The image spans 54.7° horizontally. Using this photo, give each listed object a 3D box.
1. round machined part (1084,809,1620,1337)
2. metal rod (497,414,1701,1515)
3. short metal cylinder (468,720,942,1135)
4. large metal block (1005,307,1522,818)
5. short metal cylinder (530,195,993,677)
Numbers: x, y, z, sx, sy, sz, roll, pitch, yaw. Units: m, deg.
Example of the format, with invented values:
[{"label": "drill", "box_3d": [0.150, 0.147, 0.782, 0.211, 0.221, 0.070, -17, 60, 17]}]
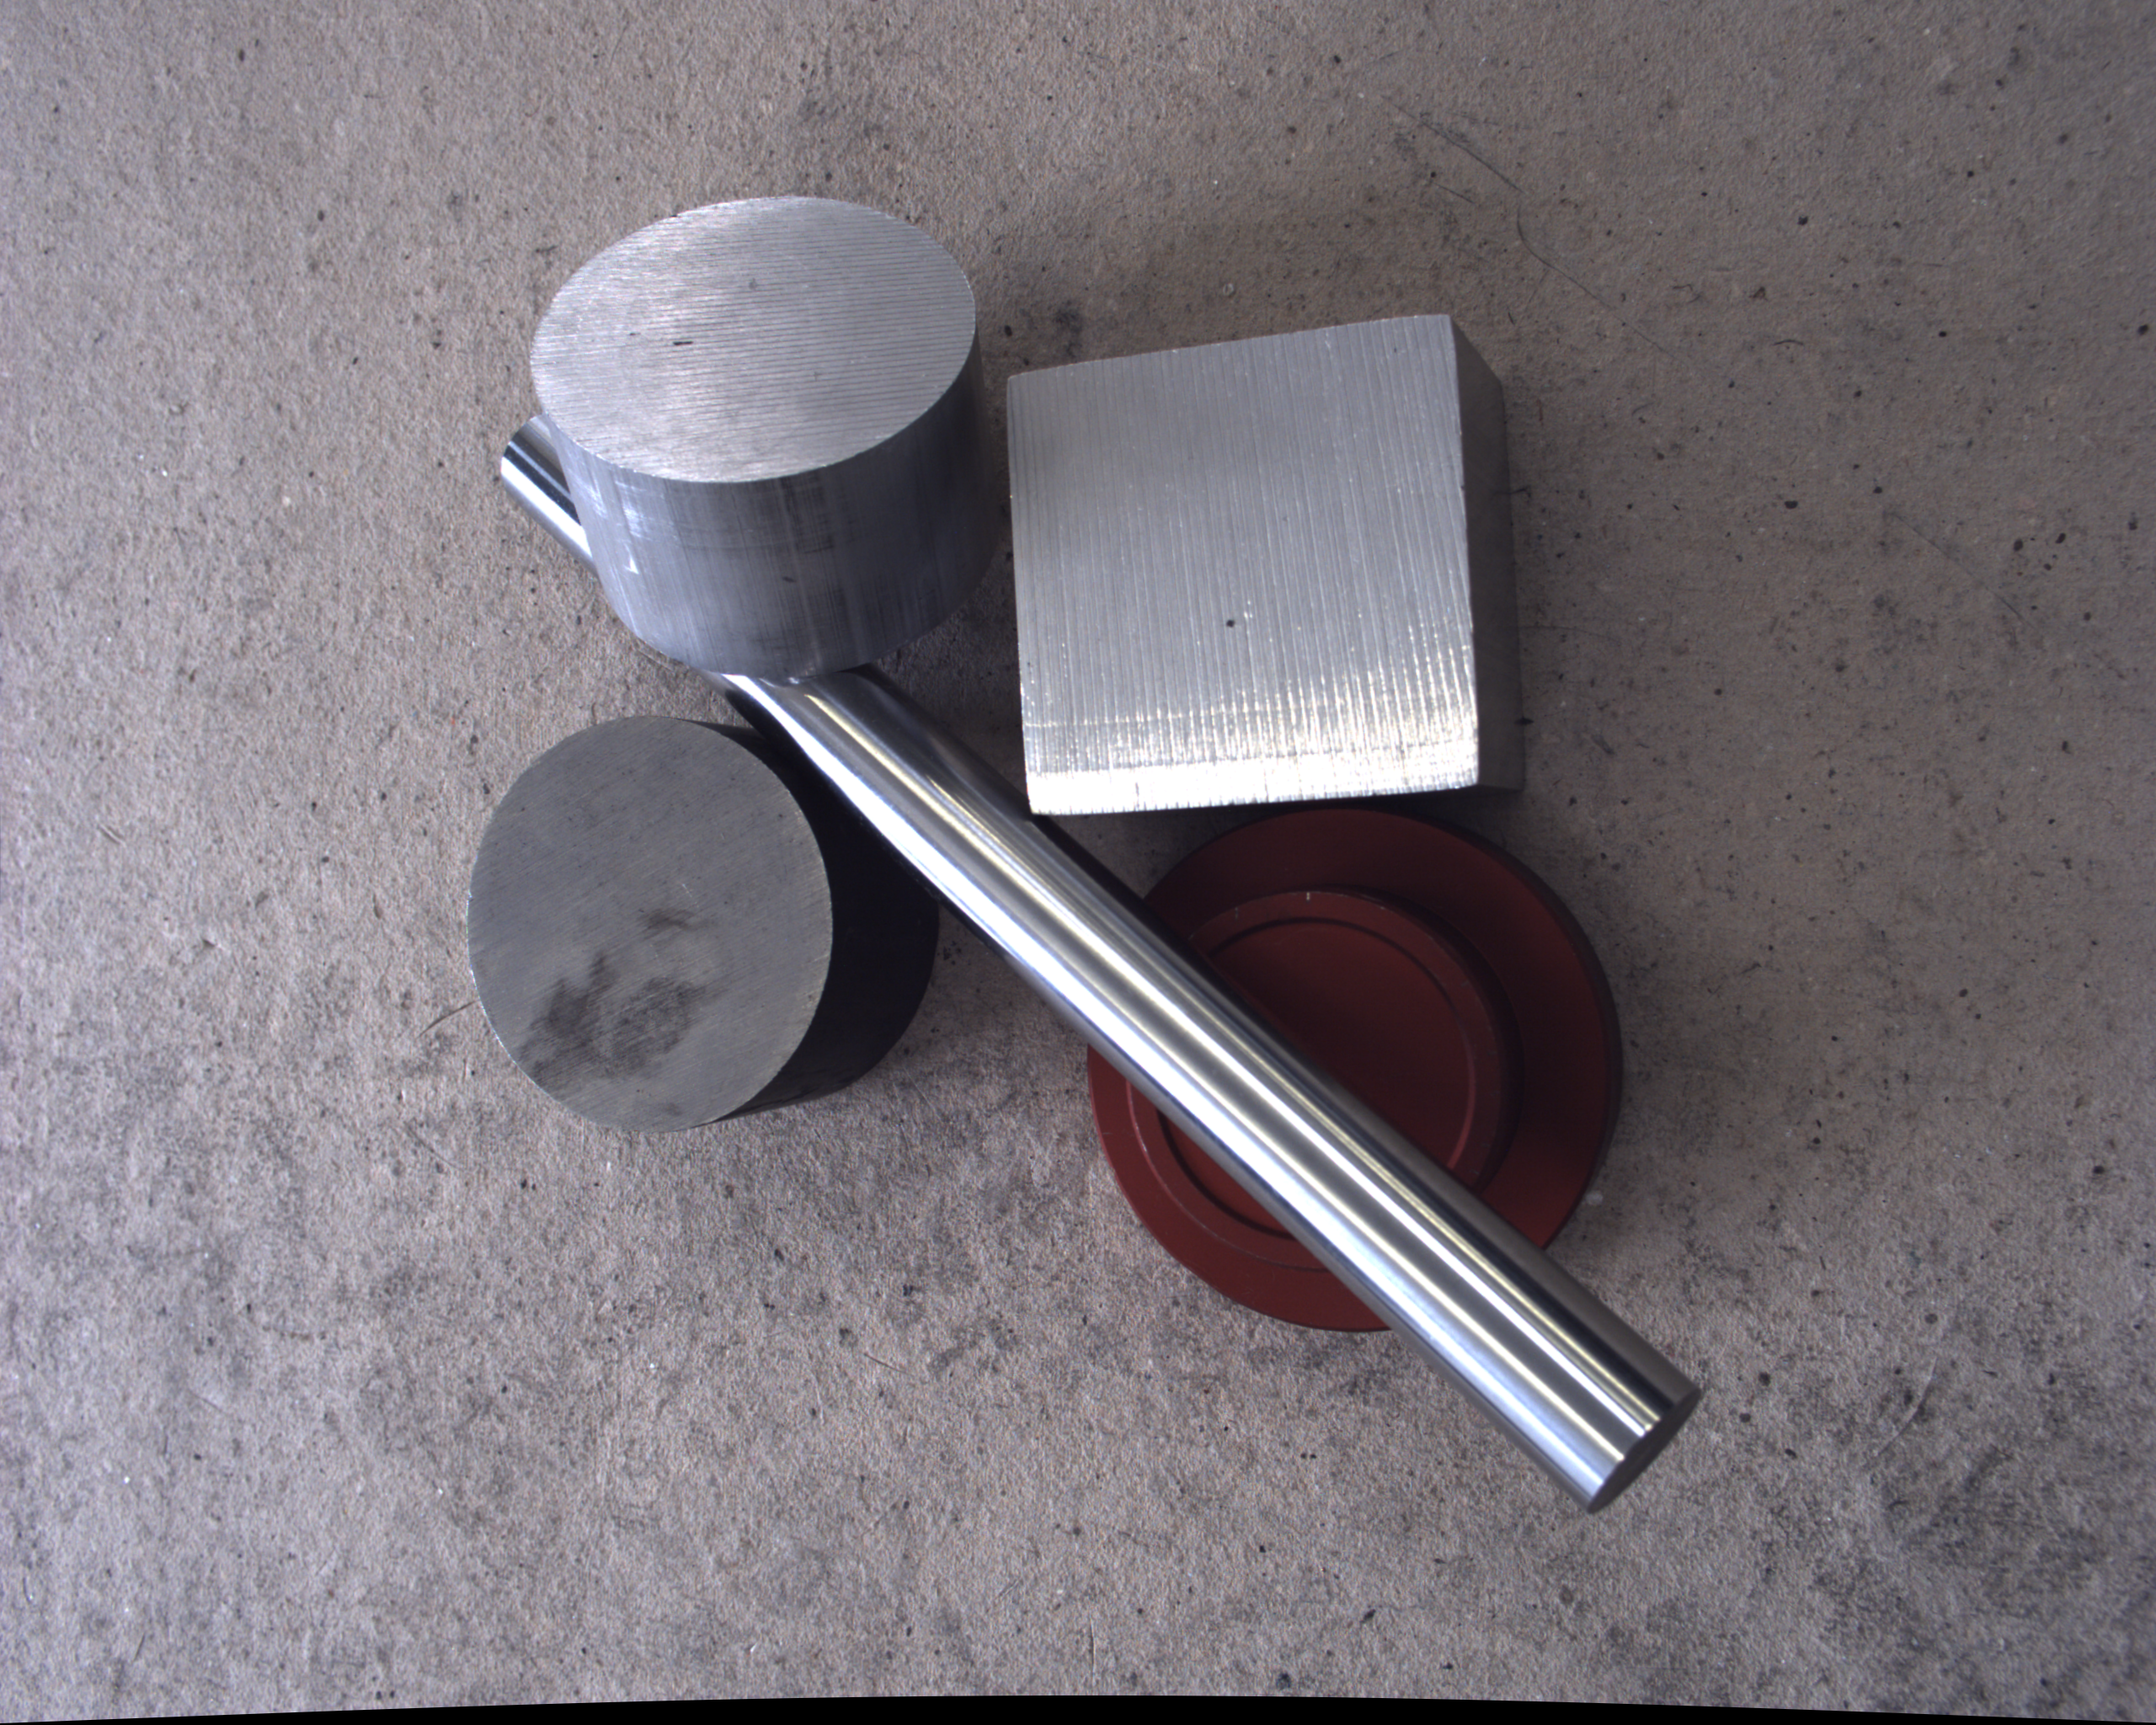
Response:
[{"label": "round machined part", "box_3d": [0.047, 0.039, 0.384, 0.098, 0.042, 0.097, 0, 90, 20]}, {"label": "metal rod", "box_3d": [-0.015, 0.000, 0.380, 0.300, 0.025, 0.025, 41, 103, 28]}, {"label": "short metal cylinder", "box_3d": [-0.075, 0.012, 0.424, 0.080, 0.050, 0.080, 0, 90, 20]}, {"label": "large metal block", "box_3d": [0.035, -0.050, 0.382, 0.080, 0.050, 0.080, -3, 89, 20]}, {"label": "short metal cylinder", "box_3d": [-0.058, -0.082, 0.397, 0.080, 0.050, 0.080, -1, 53, 2]}]
